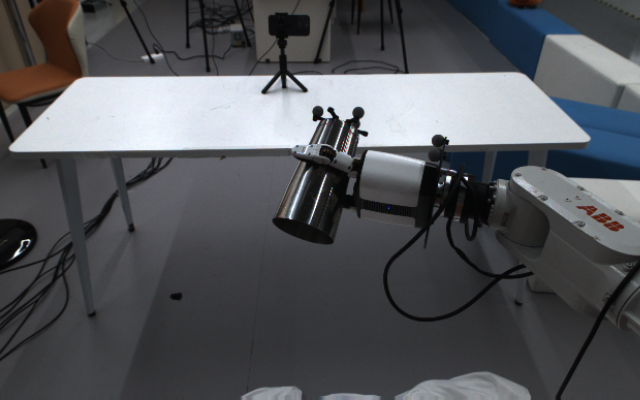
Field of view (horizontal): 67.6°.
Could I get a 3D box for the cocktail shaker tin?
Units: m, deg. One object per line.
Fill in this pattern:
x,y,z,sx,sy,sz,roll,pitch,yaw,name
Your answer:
0.002,-0.031,0.708,0.093,0.093,0.170,13,70,16,cocktail shaker tin
